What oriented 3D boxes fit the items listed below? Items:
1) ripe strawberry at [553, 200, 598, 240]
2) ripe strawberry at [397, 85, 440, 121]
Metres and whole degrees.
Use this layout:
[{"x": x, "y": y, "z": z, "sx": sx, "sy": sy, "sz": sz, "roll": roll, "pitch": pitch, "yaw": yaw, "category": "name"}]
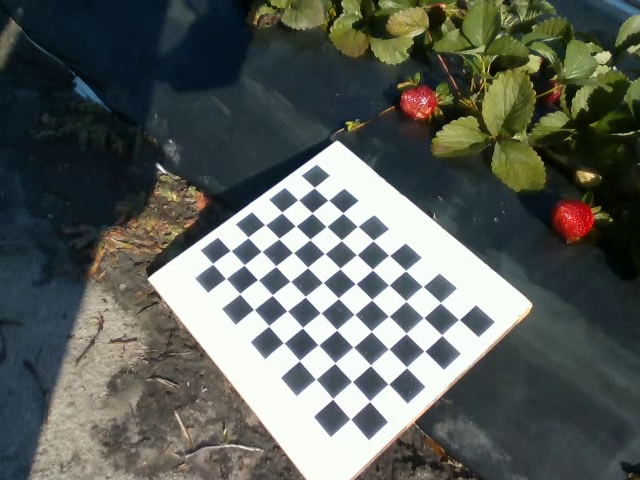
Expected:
[{"x": 0.233, "y": -0.021, "z": 0.560, "sx": 0.050, "sy": 0.043, "sz": 0.043, "roll": 19, "pitch": -38, "yaw": -41, "category": "ripe strawberry"}, {"x": 0.106, "y": -0.153, "z": 0.657, "sx": 0.053, "sy": 0.042, "sz": 0.043, "roll": -2, "pitch": -39, "yaw": -49, "category": "ripe strawberry"}]
